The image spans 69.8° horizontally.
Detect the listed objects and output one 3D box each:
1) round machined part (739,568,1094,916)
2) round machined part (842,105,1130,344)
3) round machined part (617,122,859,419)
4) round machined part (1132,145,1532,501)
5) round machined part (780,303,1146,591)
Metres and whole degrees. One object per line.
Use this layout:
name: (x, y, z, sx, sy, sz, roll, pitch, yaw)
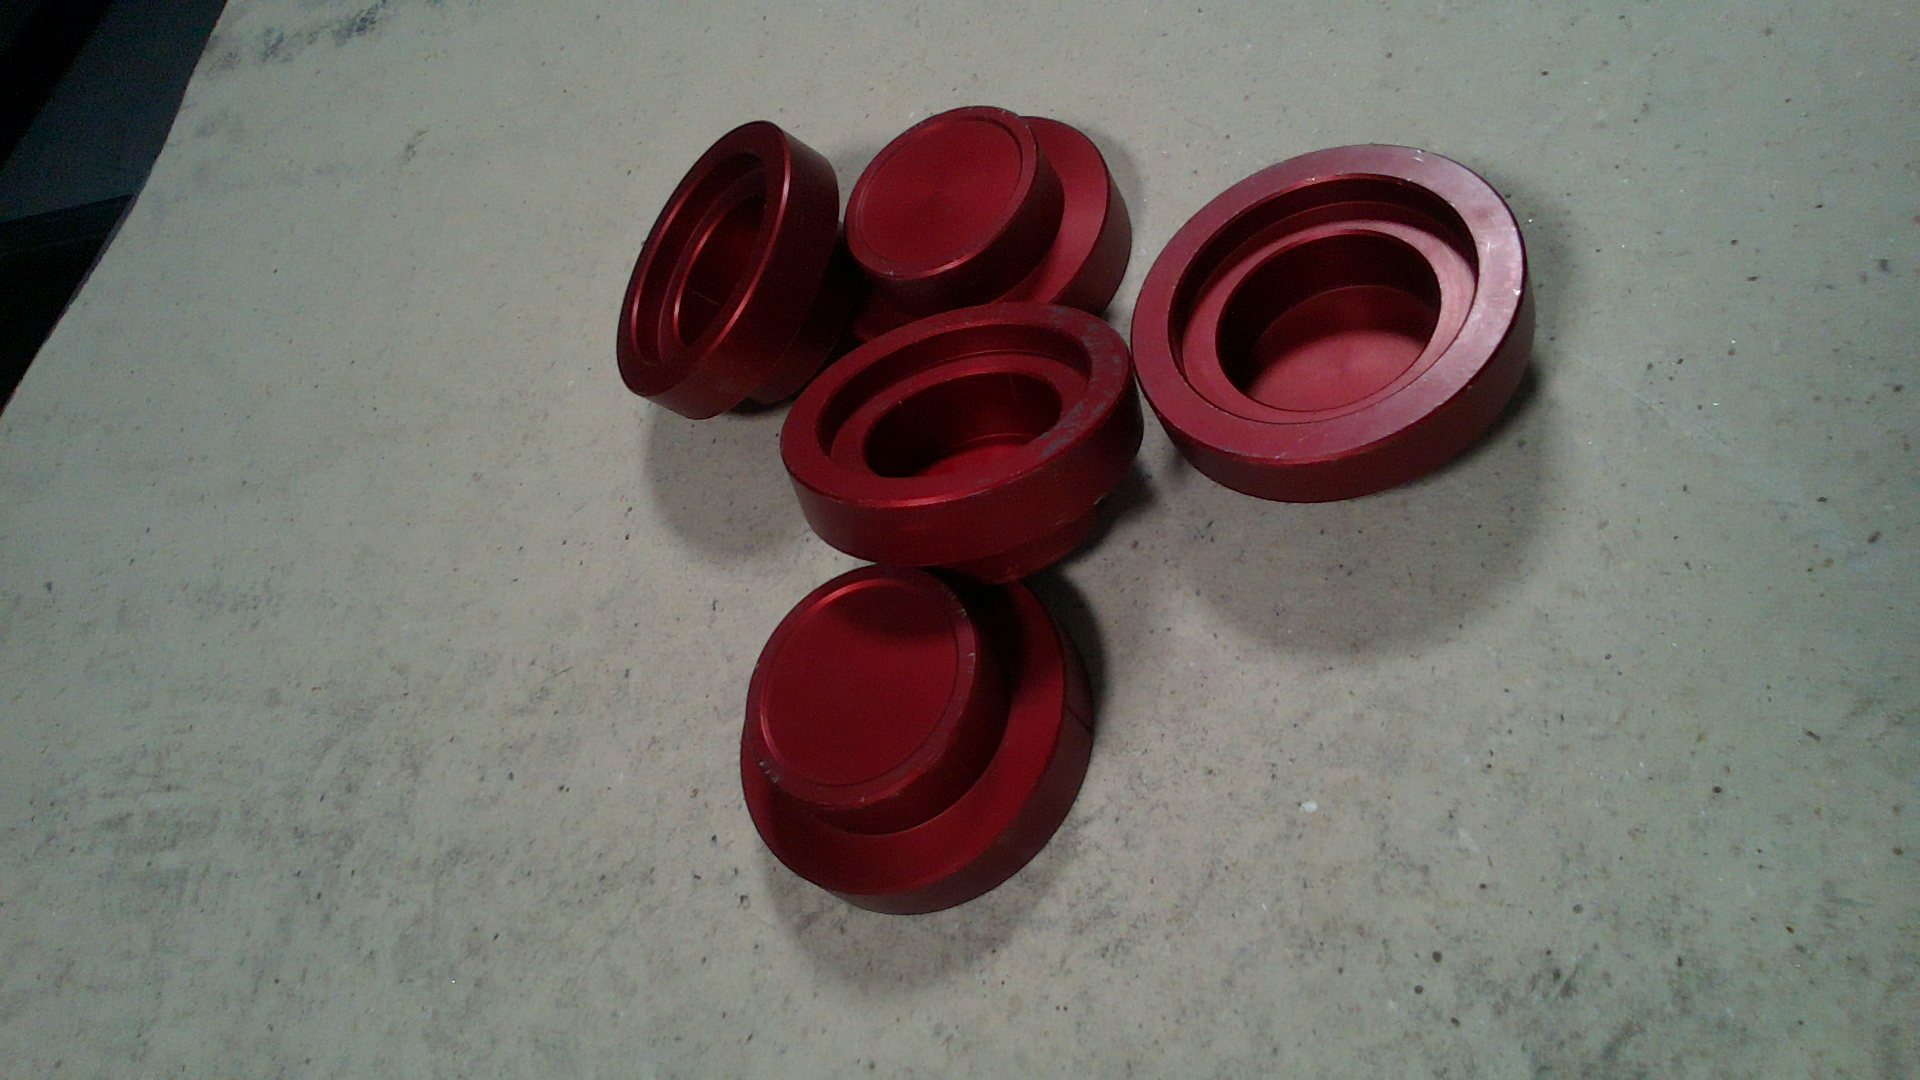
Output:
round machined part: (-0.018, 0.045, 0.364, 0.098, 0.042, 0.098, -13, 56, 21)
round machined part: (0.002, -0.100, 0.443, 0.098, 0.042, 0.098, -13, 56, 21)
round machined part: (-0.071, -0.085, 0.460, 0.098, 0.042, 0.098, -28, 50, 40)
round machined part: (0.098, -0.052, 0.362, 0.098, 0.042, 0.098, -13, 56, 21)
round machined part: (0.003, -0.023, 0.382, 0.098, 0.042, 0.098, -12, 35, 9)
